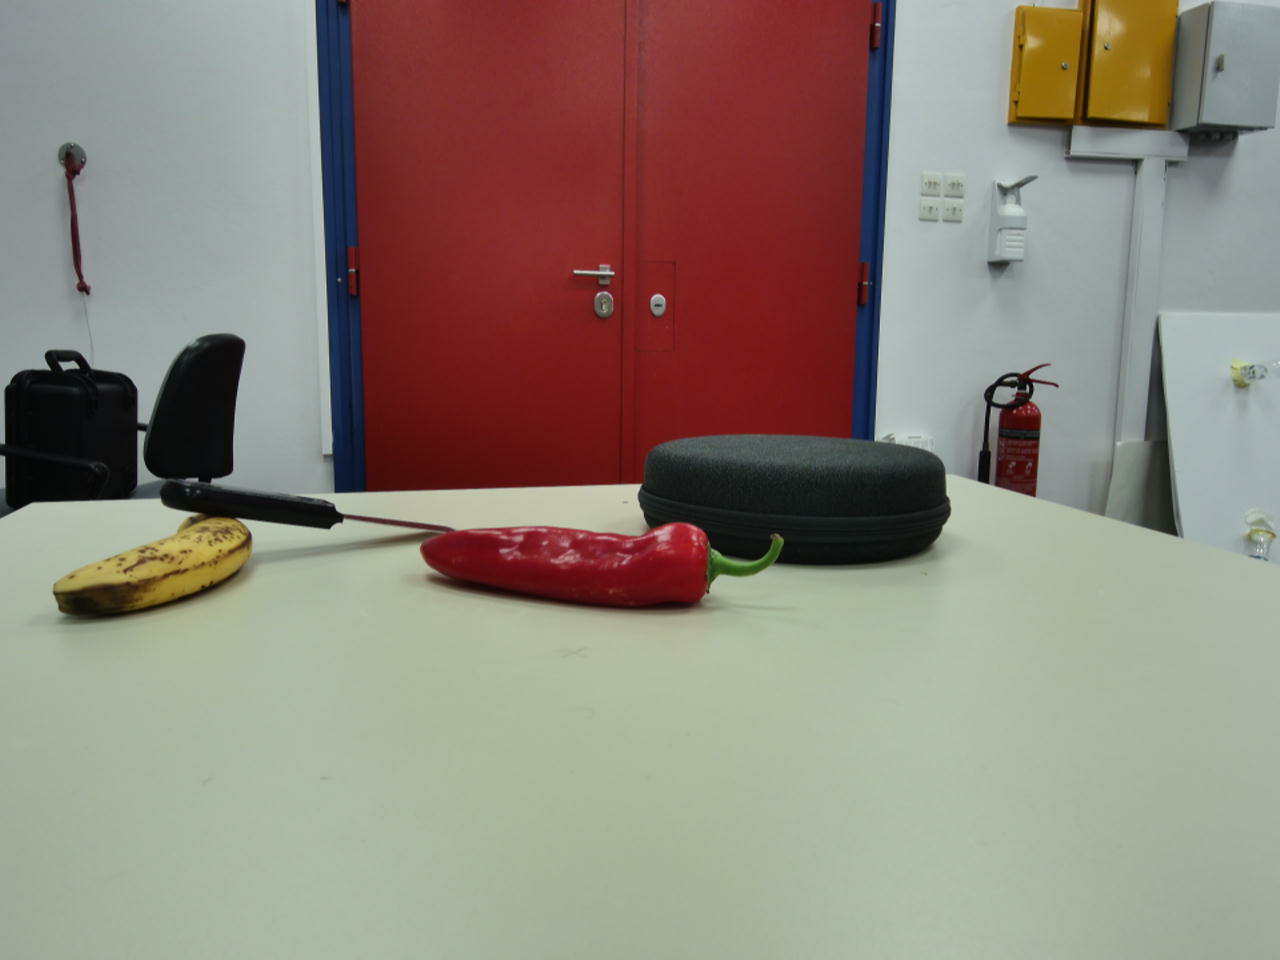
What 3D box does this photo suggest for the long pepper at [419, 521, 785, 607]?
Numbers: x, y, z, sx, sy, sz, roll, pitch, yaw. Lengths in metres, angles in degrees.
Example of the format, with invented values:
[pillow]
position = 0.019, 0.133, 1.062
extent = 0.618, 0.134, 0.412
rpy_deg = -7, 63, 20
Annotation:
[long pepper]
position = -0.029, 0.042, 0.537
extent = 0.211, 0.043, 0.050
rpy_deg = 2, 7, 19
